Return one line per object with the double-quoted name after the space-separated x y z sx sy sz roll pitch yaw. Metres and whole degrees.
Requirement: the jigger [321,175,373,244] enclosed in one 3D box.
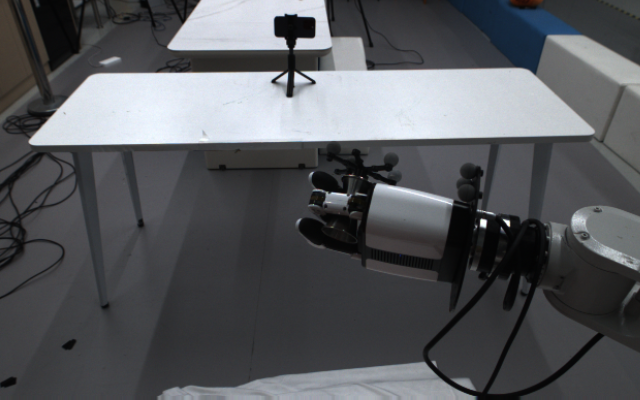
0.036 0.010 0.553 0.043 0.043 0.071 13 70 16 "jigger"
